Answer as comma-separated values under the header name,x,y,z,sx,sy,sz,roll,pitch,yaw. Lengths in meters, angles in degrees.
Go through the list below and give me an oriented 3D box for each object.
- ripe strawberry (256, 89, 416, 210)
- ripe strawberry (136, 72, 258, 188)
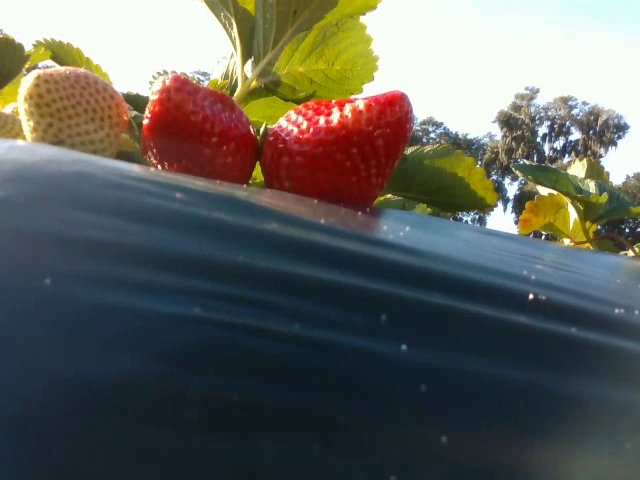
name,x,y,z,sx,sy,sz,roll,pitch,yaw
ripe strawberry,0.011,-0.032,0.206,0.067,0.052,0.056,-31,-5,42
ripe strawberry,-0.043,-0.038,0.201,0.050,0.044,0.061,26,-13,13
